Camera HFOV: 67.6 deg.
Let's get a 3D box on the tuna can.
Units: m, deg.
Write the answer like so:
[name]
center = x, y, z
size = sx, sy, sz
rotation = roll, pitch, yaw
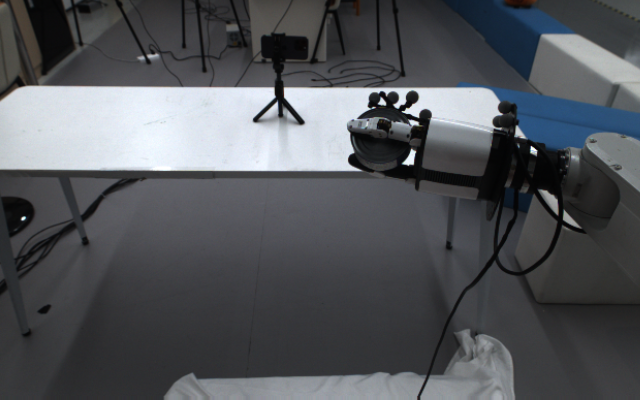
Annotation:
[tuna can]
center = 0.088, -0.088, 0.684
size = 0.085, 0.034, 0.085
rotation = -4, 67, 10
